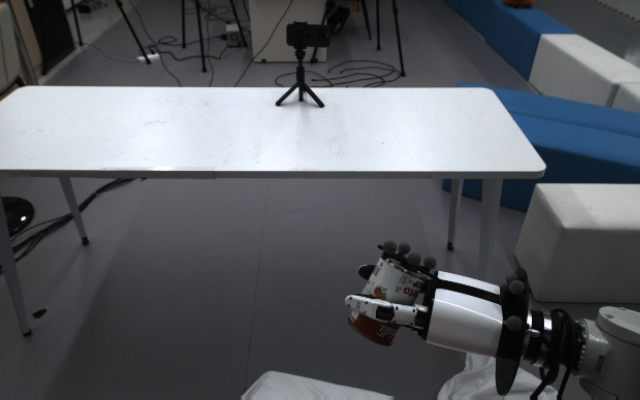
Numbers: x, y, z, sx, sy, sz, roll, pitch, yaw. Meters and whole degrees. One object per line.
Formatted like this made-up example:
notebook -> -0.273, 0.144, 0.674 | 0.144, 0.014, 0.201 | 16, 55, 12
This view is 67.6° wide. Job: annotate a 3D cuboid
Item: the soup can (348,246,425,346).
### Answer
soup can -> 0.090, 0.131, 0.638 | 0.067, 0.101, 0.067 | 26, 5, -3
